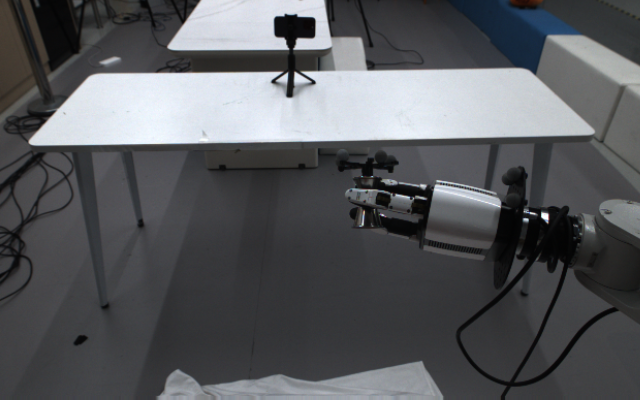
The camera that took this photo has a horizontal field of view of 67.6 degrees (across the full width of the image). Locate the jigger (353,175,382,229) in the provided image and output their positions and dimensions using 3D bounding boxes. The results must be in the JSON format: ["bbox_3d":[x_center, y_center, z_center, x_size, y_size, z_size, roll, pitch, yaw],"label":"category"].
[{"bbox_3d":[0.063,0.003,0.655,0.043,0.071,0.043,1,-5,0],"label":"jigger"}]
